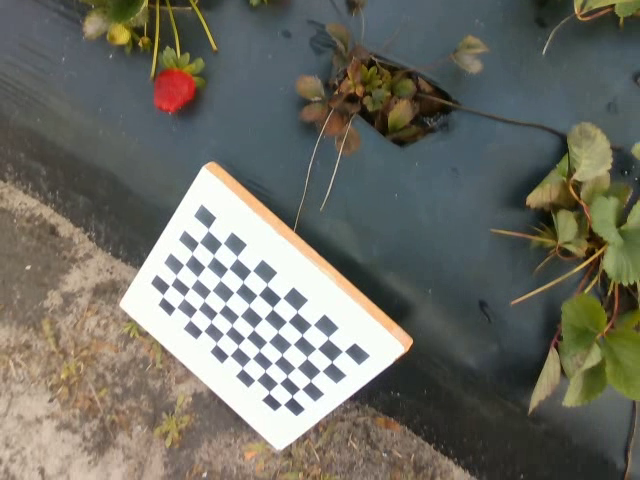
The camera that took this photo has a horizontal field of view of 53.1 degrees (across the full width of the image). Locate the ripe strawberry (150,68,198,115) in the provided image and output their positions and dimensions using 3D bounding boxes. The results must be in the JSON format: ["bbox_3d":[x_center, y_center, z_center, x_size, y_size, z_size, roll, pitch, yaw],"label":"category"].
[{"bbox_3d":[-0.150,-0.148,0.645,0.046,0.054,0.042,2,-36,32],"label":"ripe strawberry"}]
